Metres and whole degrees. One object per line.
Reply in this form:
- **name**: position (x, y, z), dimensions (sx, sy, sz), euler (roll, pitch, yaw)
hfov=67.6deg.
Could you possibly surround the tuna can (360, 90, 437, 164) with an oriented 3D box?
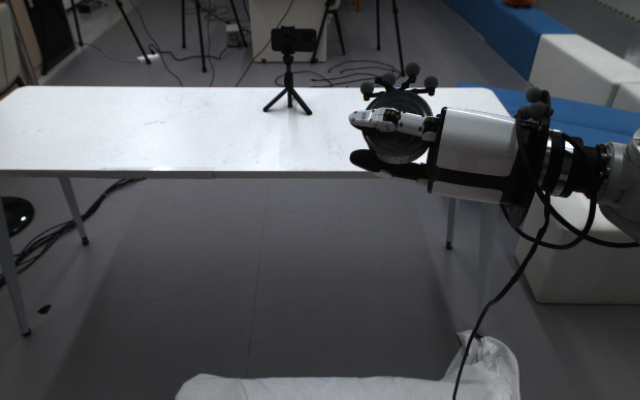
- **tuna can**: position (0.096, -0.090, 0.594), dimensions (0.085, 0.034, 0.085), euler (-4, 73, 14)
